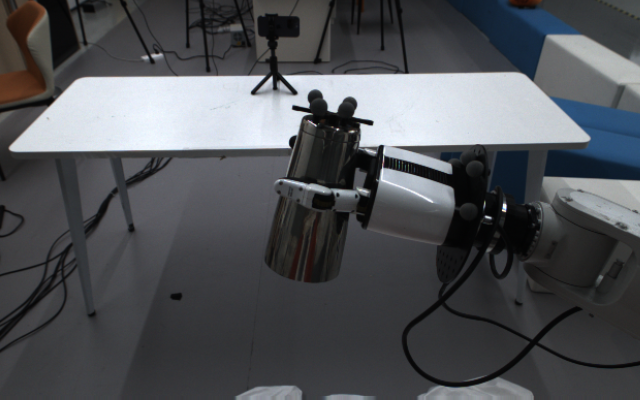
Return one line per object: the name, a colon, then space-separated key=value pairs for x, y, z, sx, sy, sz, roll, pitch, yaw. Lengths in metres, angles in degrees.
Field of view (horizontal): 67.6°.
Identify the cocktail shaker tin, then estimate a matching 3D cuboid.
cocktail shaker tin: x=-0.003 y=-0.004 z=0.548 sx=0.093 sy=0.170 sz=0.093 roll=11 pitch=19 yaw=-4
